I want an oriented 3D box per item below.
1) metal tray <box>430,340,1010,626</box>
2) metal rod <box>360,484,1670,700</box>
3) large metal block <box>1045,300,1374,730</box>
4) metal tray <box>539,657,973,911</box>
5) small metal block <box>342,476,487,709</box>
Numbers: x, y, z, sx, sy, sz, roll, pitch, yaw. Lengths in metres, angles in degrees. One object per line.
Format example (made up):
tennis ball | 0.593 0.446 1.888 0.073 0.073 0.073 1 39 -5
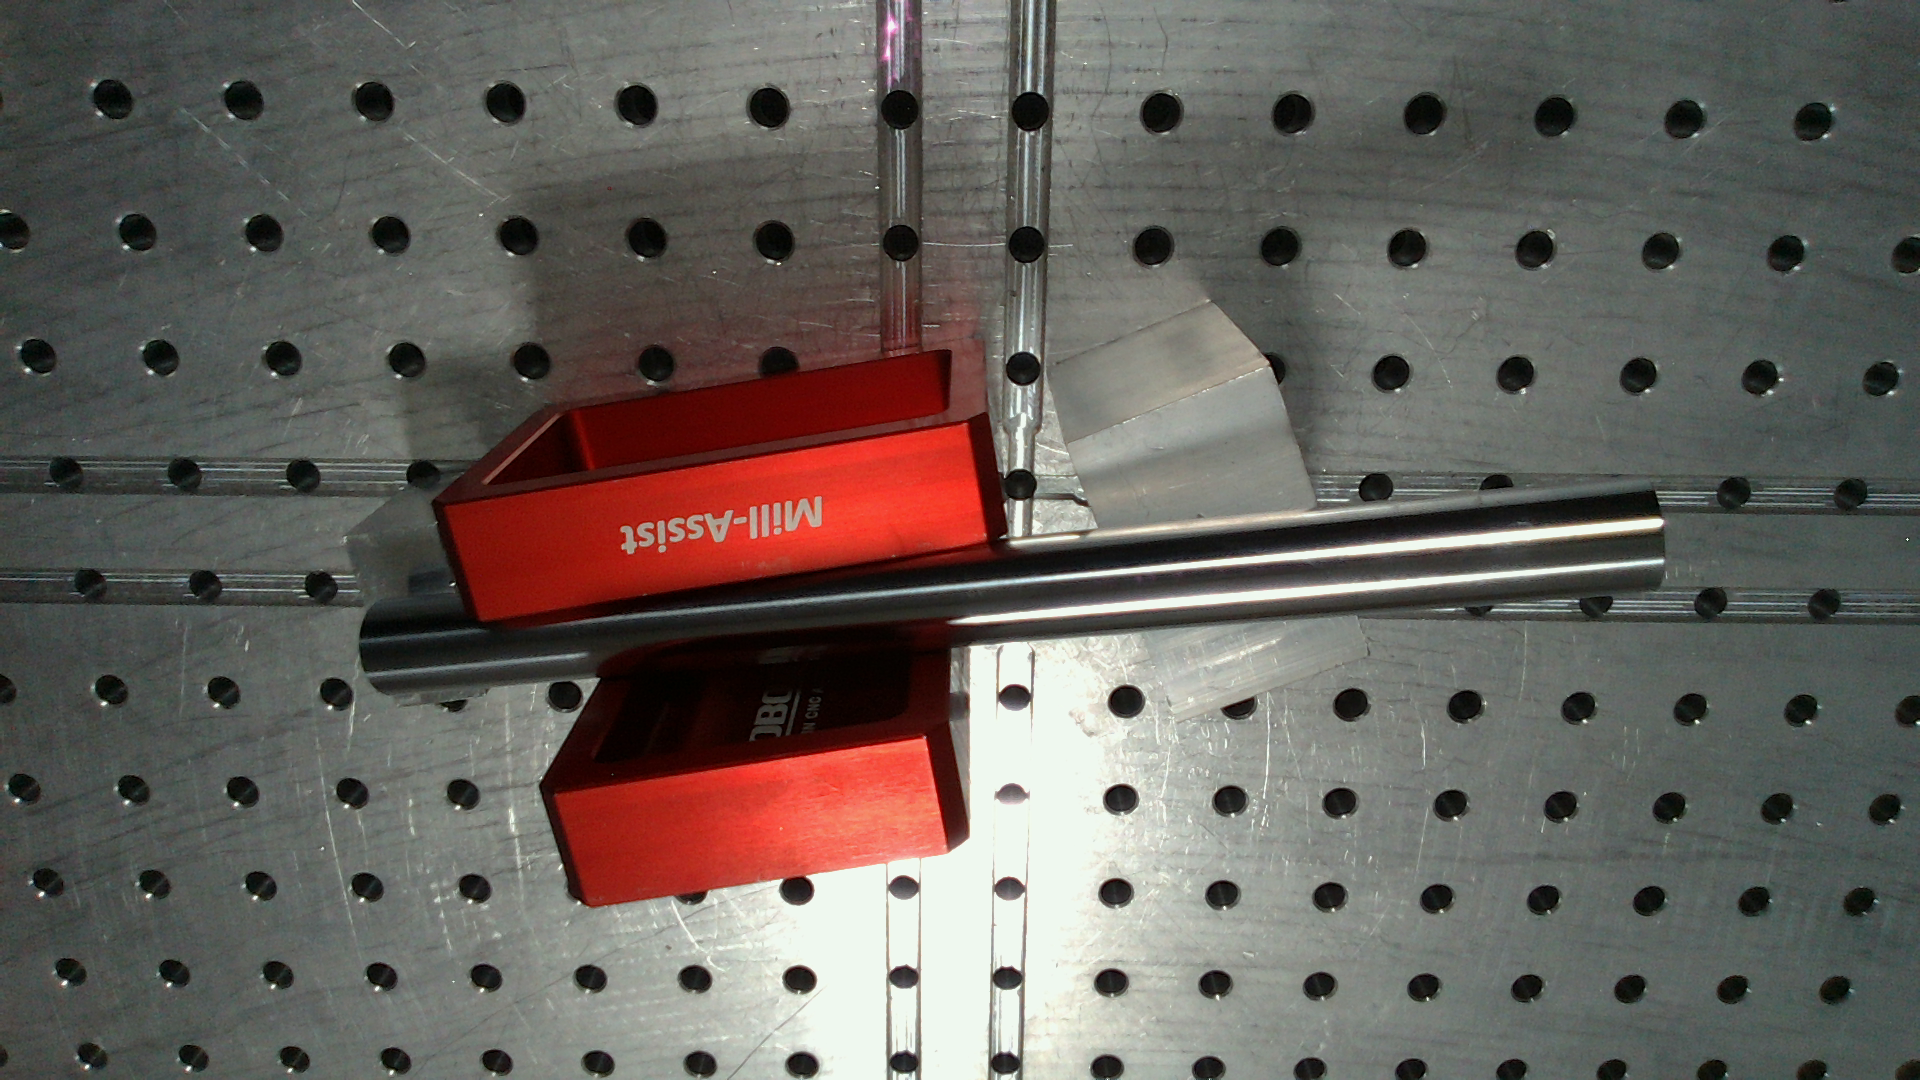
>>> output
metal tray | -0.055 -0.018 0.354 0.130 0.090 0.030 -8 111 3
metal rod | 0.000 0.014 0.321 0.299 0.025 0.025 -5 110 12
large metal block | 0.062 -0.010 0.363 0.050 0.080 0.080 -21 109 8
metal tray | -0.044 0.039 0.355 0.090 0.130 0.030 -9 110 3
small metal block | -0.144 0.012 0.387 0.025 0.050 0.050 -8 110 3
